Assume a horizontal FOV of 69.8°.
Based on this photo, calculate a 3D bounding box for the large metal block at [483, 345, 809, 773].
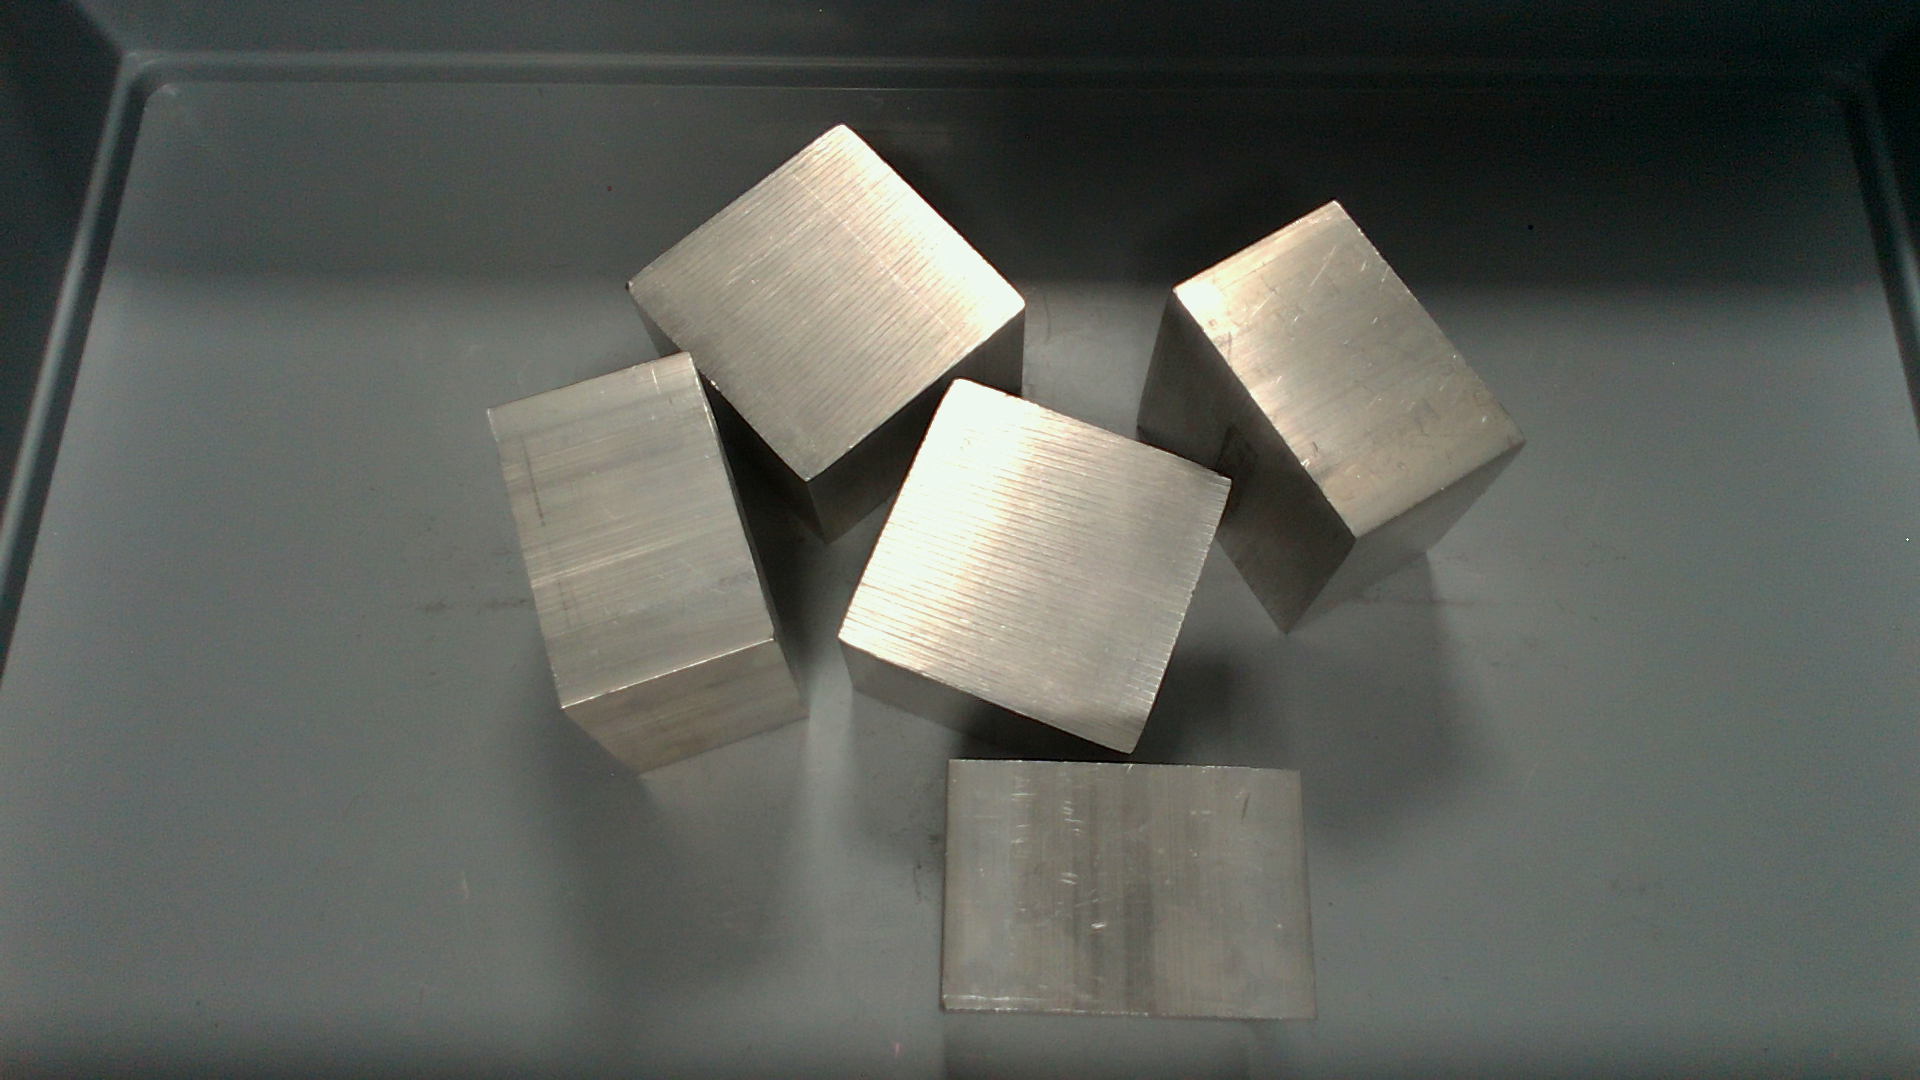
[{"bbox_3d":[-0.079,0.009,0.361,0.050,0.080,0.080,-18,71,-6],"label":"large metal block"}]

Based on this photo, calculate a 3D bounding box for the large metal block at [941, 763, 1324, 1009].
[{"bbox_3d":[0.037,0.087,0.333,0.080,0.080,0.050,1,70,0],"label":"large metal block"}]

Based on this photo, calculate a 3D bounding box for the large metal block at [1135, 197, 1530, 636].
[{"bbox_3d":[0.095,-0.030,0.375,0.050,0.080,0.080,-29,73,-10],"label":"large metal block"}]

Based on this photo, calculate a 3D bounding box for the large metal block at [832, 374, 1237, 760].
[{"bbox_3d":[0.020,0.013,0.376,0.080,0.050,0.080,21,71,8],"label":"large metal block"}]

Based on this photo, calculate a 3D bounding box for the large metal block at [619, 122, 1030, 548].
[{"bbox_3d":[-0.037,-0.059,0.401,0.080,0.050,0.080,-40,75,-13],"label":"large metal block"}]
